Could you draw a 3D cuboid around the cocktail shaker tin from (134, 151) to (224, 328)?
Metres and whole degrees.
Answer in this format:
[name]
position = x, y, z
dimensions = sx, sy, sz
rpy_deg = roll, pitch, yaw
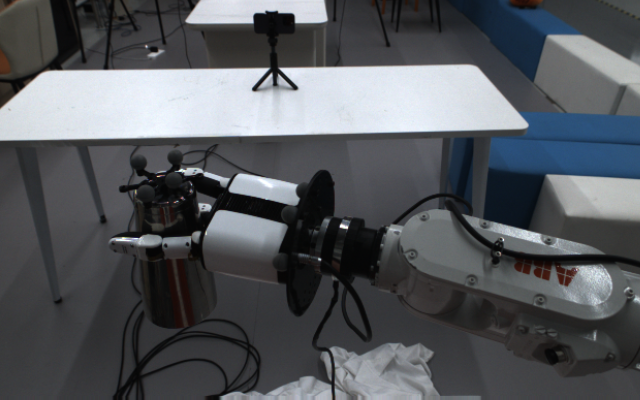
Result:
[cocktail shaker tin]
position = -0.172, 0.057, 0.577
dimensions = 0.093, 0.170, 0.093
rpy_deg = 3, 33, -2
